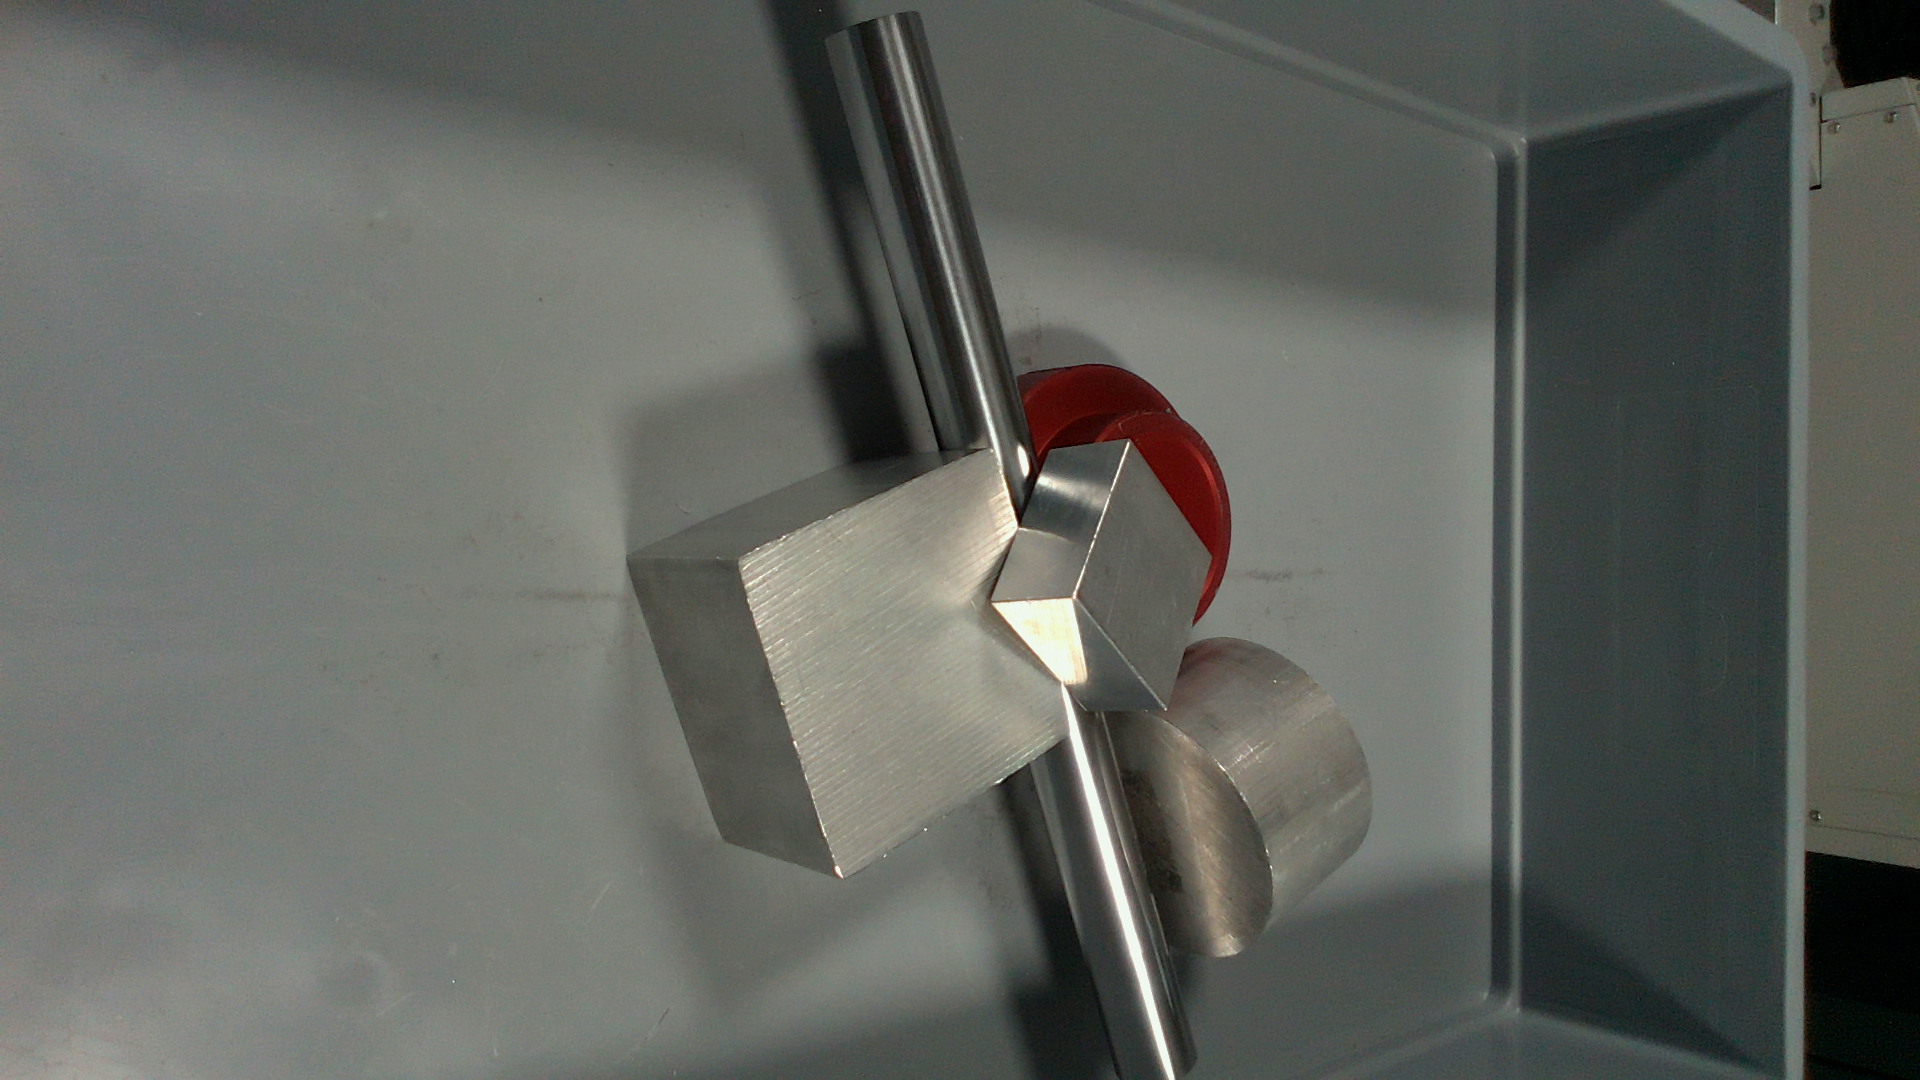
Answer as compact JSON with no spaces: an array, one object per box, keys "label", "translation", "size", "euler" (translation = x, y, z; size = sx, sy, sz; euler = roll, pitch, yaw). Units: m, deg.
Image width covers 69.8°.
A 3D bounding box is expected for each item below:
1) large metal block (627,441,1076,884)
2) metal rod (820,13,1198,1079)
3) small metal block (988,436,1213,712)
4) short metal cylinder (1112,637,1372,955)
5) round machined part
[{"label":"large metal block","translation":[-0.025,0.027,0.347],"size":[0.080,0.050,0.080],"euler":[-26,106,-37]},{"label":"metal rod","translation":[0.018,0.014,0.375],"size":[0.025,0.025,0.300],"euler":[-26,106,-37]},{"label":"small metal block","translation":[0.038,0.010,0.357],"size":[0.050,0.025,0.050],"euler":[49,50,-36]},{"label":"short metal cylinder","translation":[0.075,0.076,0.414],"size":[0.050,0.080,0.080],"euler":[-26,106,-37]},{"label":"round machined part","translation":[0.044,-0.004,0.412],"size":[0.098,0.042,0.098],"euler":[0,90,-40]}]
